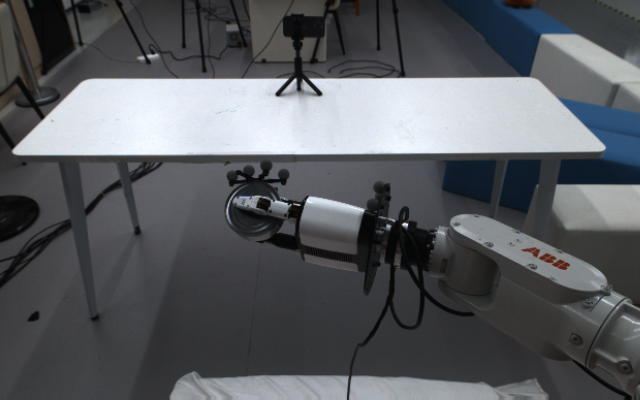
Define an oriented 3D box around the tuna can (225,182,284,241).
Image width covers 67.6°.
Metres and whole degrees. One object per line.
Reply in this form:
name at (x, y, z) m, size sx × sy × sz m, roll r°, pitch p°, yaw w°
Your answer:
tuna can at (-0.090, 0.018, 0.715) m, size 0.085 × 0.034 × 0.085 m, roll -2°, pitch 69°, yaw 6°
